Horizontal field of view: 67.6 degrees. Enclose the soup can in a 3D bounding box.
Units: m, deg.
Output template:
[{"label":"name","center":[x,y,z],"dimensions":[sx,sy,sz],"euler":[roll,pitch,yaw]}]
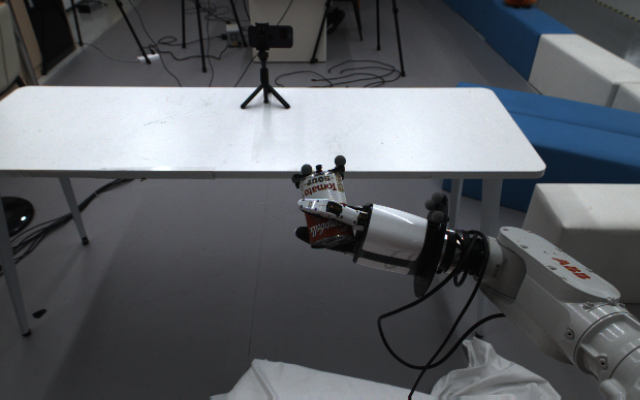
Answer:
[{"label":"soup can","center":[0.011,0.015,0.728],"dimensions":[0.067,0.067,0.101],"euler":[-8,74,-14]}]
